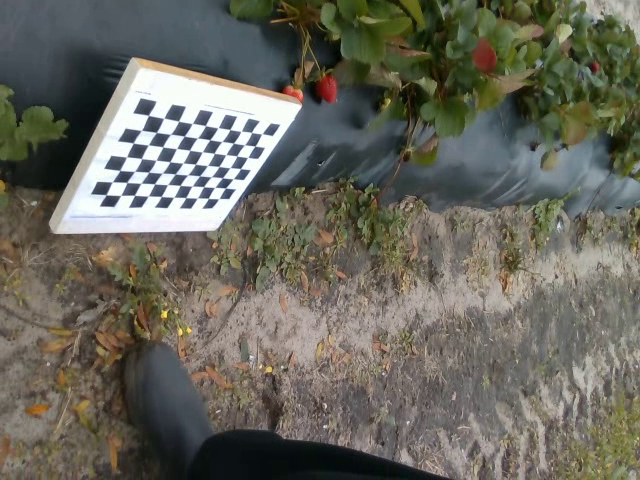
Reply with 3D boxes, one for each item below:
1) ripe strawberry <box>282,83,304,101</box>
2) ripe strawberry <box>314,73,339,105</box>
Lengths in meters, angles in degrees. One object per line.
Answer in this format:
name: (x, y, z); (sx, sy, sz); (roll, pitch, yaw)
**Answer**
ripe strawberry: (-0.042, -0.221, 0.925); (0.036, 0.041, 0.027); (7, 23, -44)
ripe strawberry: (0.012, -0.250, 0.976); (0.044, 0.059, 0.042); (-23, 41, -5)
